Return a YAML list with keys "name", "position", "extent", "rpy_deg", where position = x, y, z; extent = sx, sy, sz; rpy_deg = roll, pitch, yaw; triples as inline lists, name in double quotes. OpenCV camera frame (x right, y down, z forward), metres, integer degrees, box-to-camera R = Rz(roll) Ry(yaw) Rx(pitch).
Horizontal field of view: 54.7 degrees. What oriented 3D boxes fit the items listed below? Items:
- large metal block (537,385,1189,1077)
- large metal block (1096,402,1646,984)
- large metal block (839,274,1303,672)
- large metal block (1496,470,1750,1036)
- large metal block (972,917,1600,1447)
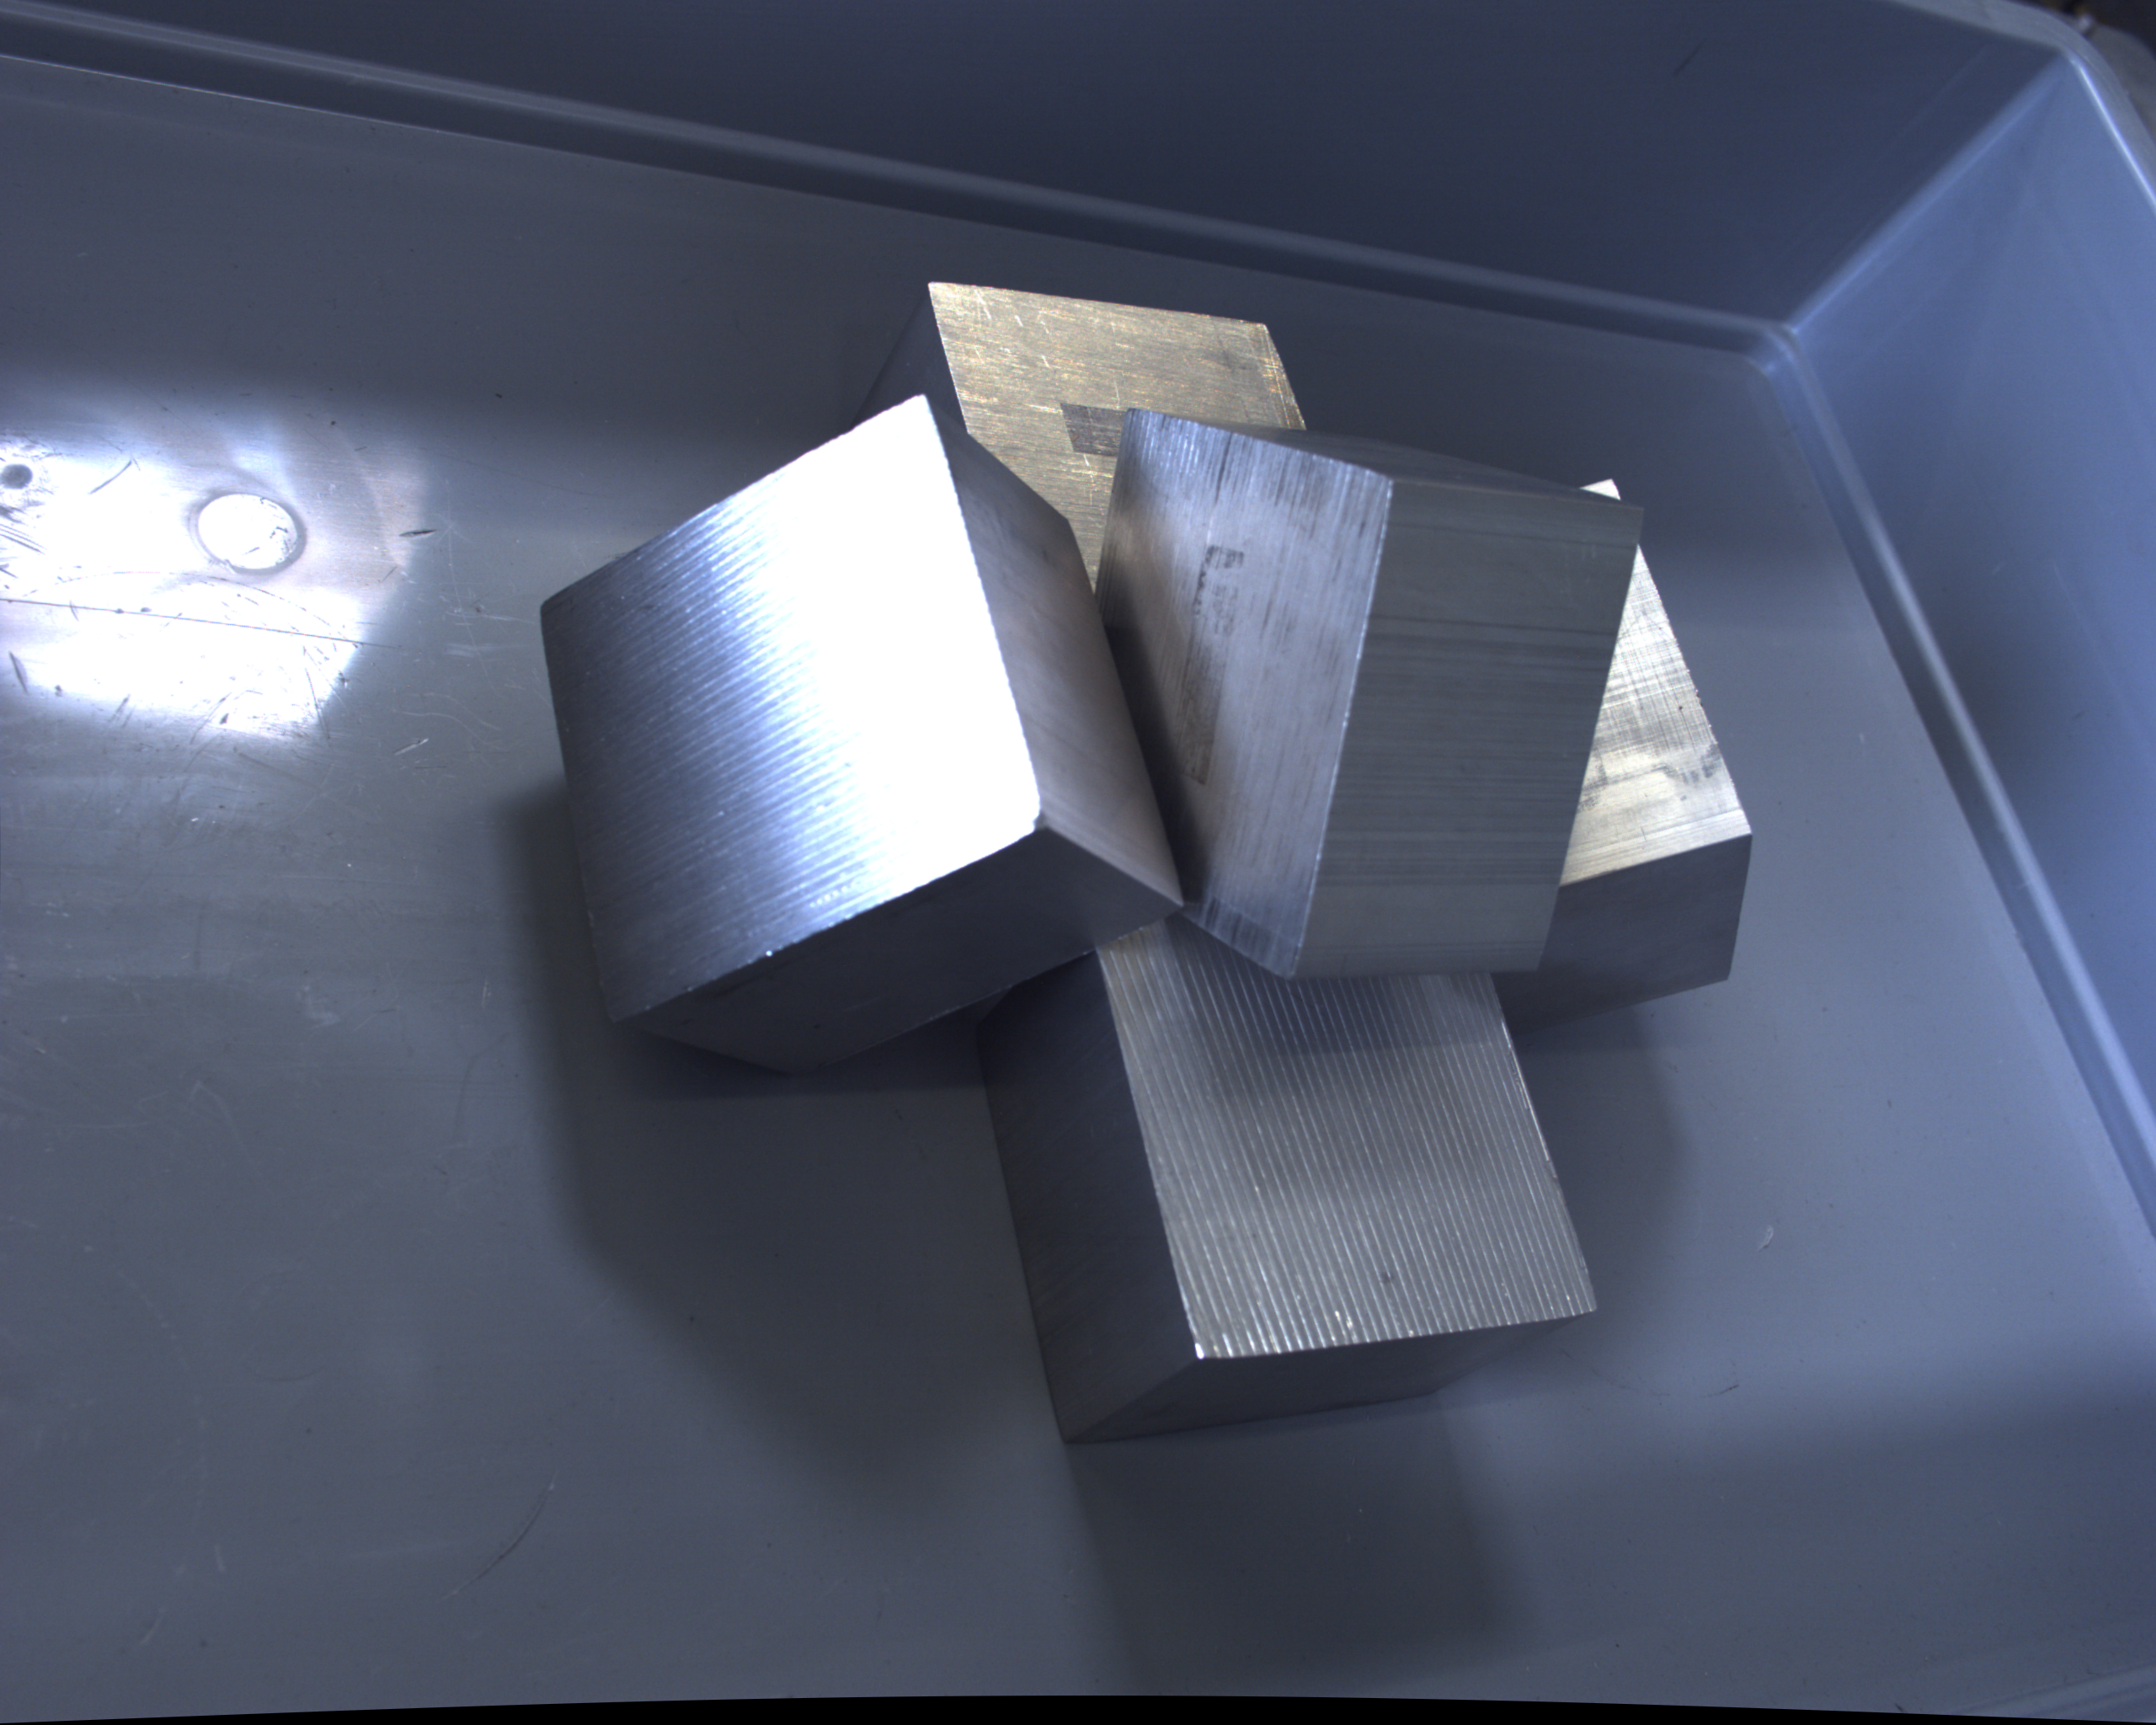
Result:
- name: "large metal block"
  position: [-0.037, -0.019, 0.350]
  extent: [0.050, 0.080, 0.080]
  rpy_deg: [30, 40, -58]
- name: "large metal block"
  position: [0.043, -0.031, 0.359]
  extent: [0.050, 0.079, 0.080]
  rpy_deg: [0, 18, -30]
- name: "large metal block"
  position: [0.004, -0.069, 0.429]
  extent: [0.081, 0.050, 0.080]
  rpy_deg: [-2, 63, -29]
- name: "large metal block"
  position: [0.095, -0.018, 0.422]
  extent: [0.050, 0.080, 0.080]
  rpy_deg: [-16, 65, 7]
- name: "large metal block"
  position: [0.035, 0.054, 0.374]
  extent: [0.081, 0.050, 0.080]
  rpy_deg: [1, 62, -28]
